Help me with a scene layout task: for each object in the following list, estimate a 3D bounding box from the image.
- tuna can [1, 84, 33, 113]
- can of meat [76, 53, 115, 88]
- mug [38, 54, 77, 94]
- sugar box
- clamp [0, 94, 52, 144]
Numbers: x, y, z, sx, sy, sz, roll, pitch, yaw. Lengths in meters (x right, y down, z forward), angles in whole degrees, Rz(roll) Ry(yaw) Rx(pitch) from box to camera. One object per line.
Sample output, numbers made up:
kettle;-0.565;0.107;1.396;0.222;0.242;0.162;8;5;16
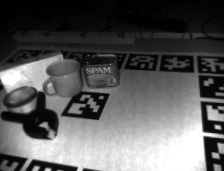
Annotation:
tuna can;-0.260;0.036;0.580;0.085;0.034;0.085;-4;41;4
can of meat;-0.043;-0.042;0.613;0.101;0.084;0.057;0;39;6
mug;-0.153;-0.023;0.594;0.092;0.082;0.118;24;50;32
sugar box;-0.238;-0.037;0.628;0.177;0.093;0.045;-19;39;-16
clamp;-0.198;0.081;0.524;0.123;0.037;0.163;-29;48;-31
